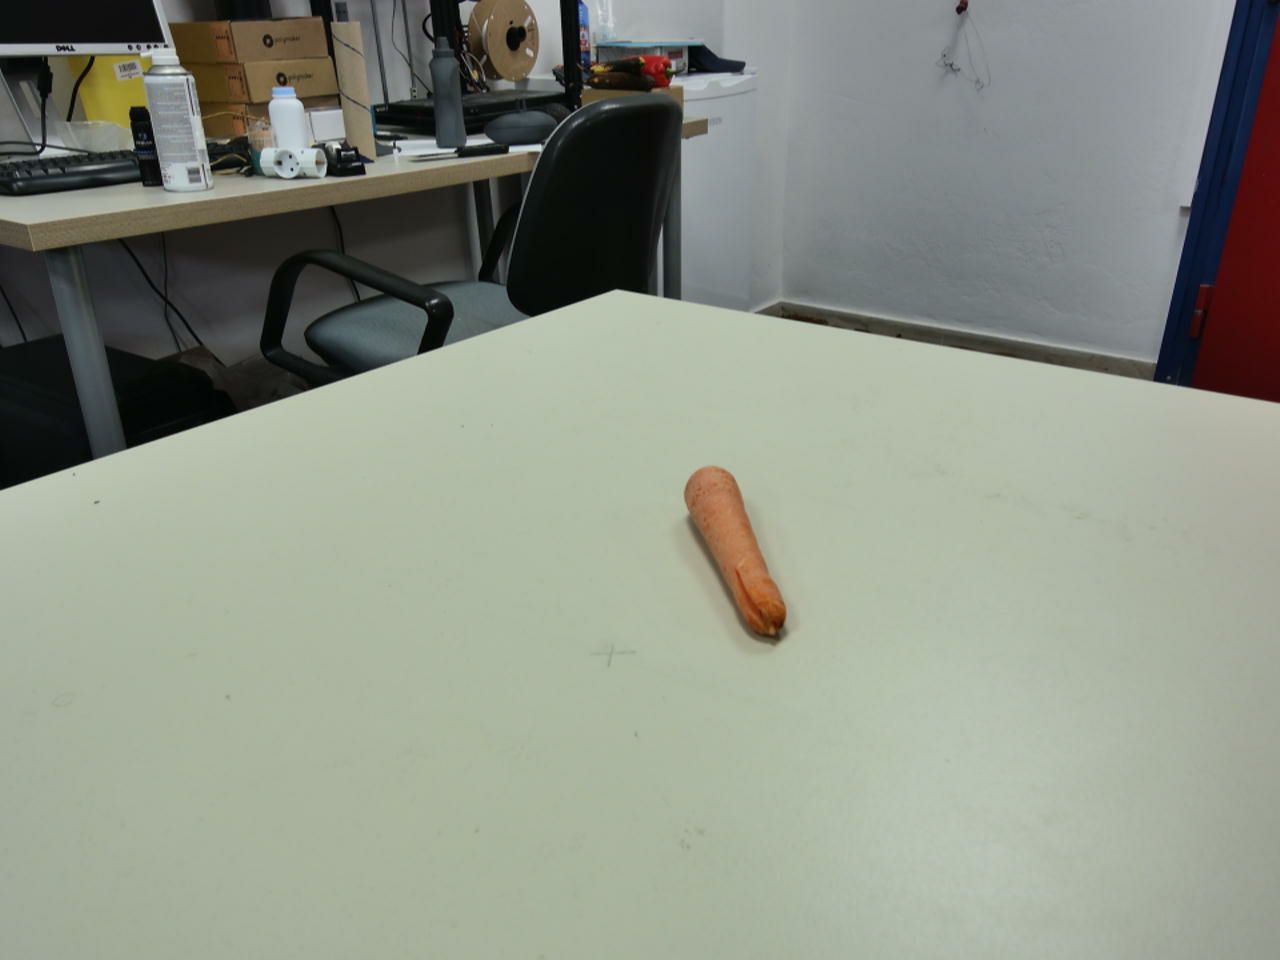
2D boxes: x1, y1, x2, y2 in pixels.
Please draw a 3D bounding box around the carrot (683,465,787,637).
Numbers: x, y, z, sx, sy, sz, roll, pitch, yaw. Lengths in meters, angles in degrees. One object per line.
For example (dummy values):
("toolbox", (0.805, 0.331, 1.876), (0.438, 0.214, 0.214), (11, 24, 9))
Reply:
("carrot", (0.044, 0.028, 0.473), (0.030, 0.032, 0.136), (-3, 23, -7))
